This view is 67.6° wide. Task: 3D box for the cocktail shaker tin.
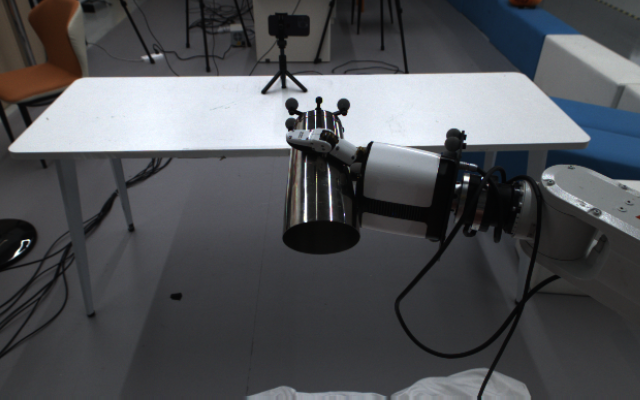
[{"bbox_3d":[-0.001,-0.028,0.607,0.093,0.093,0.170,0,59,-3],"label":"cocktail shaker tin"}]
